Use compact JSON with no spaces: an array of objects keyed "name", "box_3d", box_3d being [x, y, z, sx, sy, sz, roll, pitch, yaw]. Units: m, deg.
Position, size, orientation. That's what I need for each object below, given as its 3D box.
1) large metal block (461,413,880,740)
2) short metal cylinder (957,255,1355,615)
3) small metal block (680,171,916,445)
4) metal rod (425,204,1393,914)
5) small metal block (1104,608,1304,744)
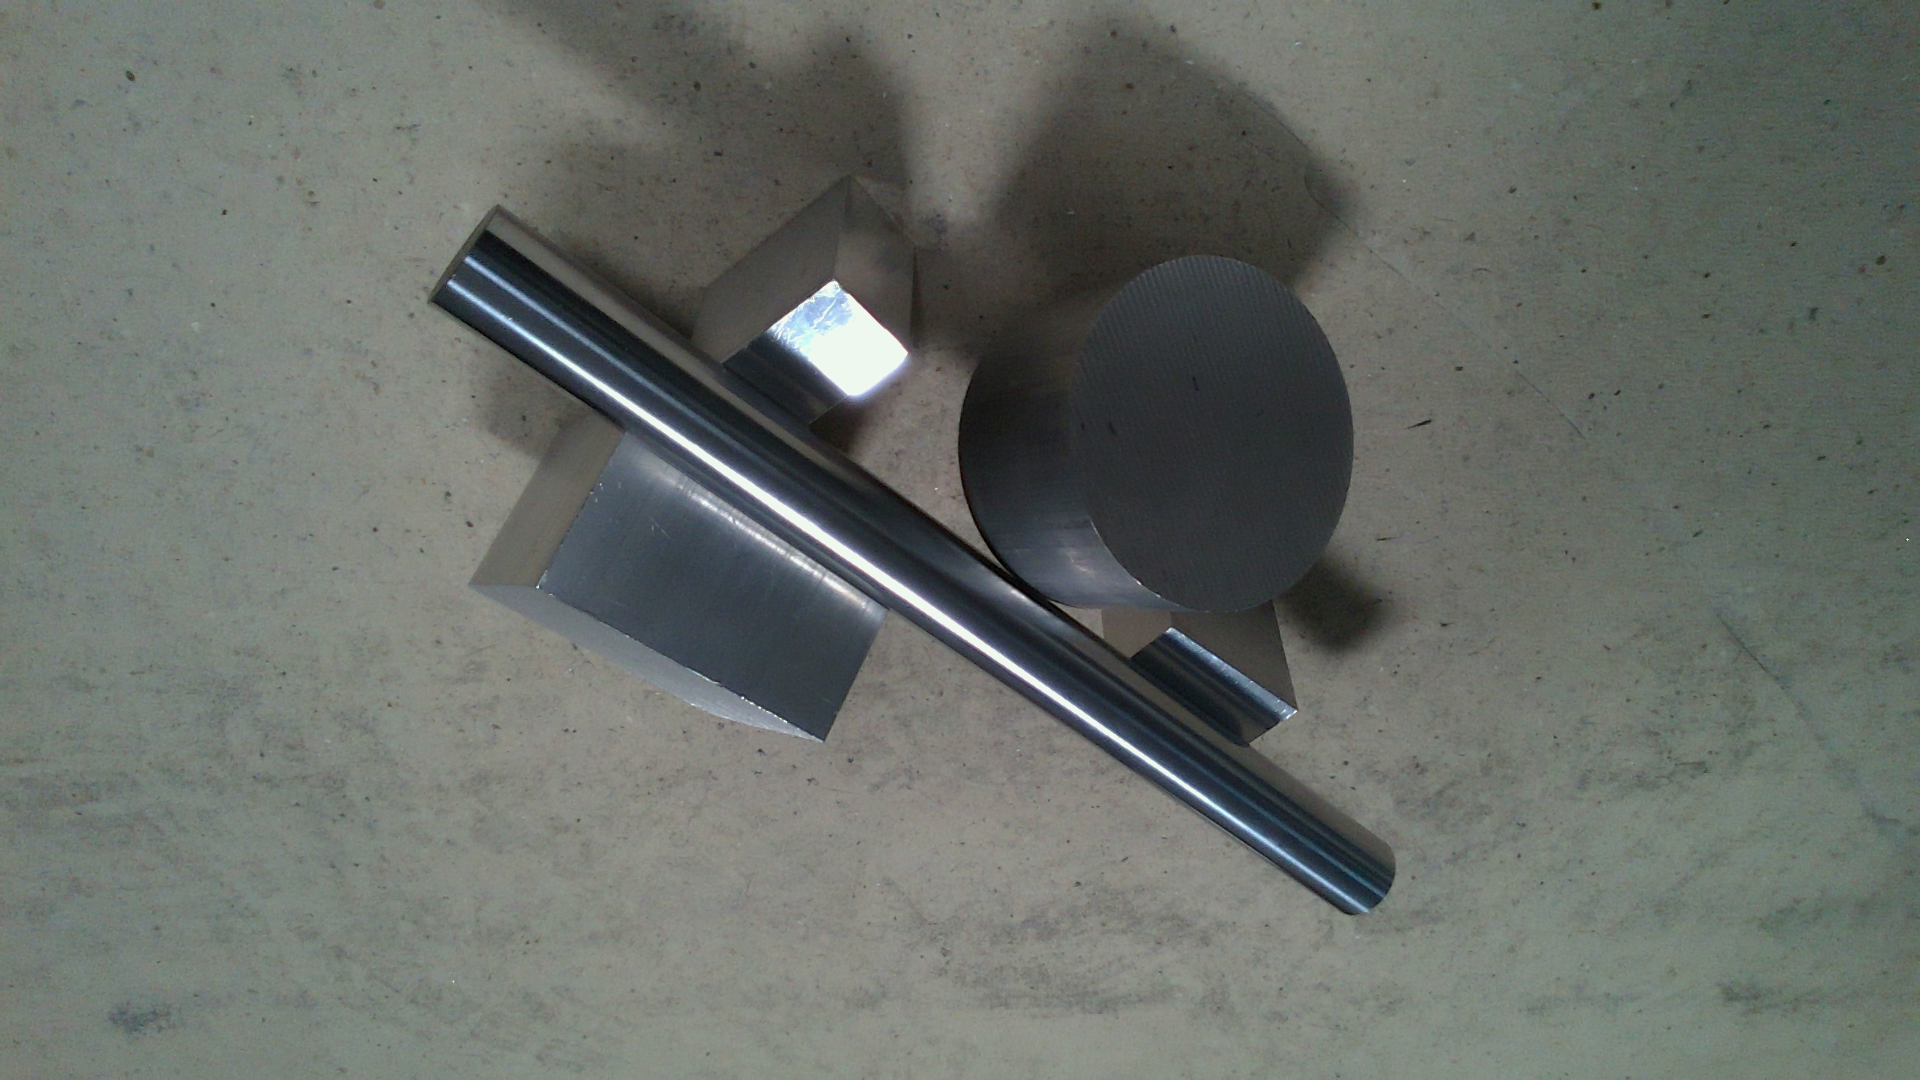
[{"name":"large metal block","box_3d":[-0.074,0.008,0.358,0.080,0.050,0.080,33,163,-25]},{"name":"short metal cylinder","box_3d":[0.046,-0.023,0.328,0.080,0.080,0.050,32,165,-24]},{"name":"small metal block","box_3d":[-0.038,-0.054,0.329,0.050,0.050,0.025,-32,123,24]},{"name":"metal rod","box_3d":[0.009,0.021,0.343,0.301,0.025,0.025,36,122,-26]},{"name":"small metal block","box_3d":[0.068,0.028,0.394,0.050,0.050,0.025,33,123,-25]}]
